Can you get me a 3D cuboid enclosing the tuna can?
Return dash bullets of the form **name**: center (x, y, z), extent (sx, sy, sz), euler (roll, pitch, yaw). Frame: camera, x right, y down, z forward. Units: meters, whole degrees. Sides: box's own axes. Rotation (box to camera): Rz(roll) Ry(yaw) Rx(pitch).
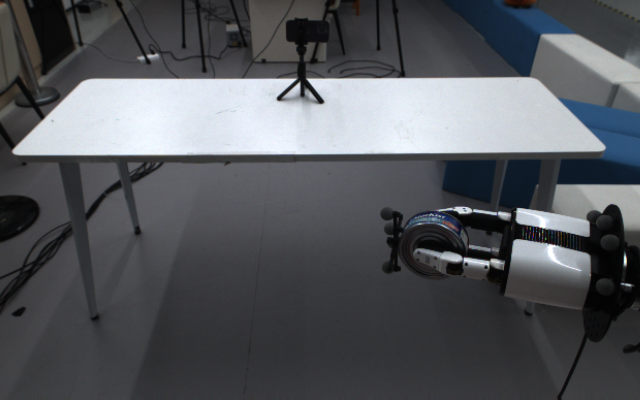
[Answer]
- **tuna can**: center (0.146, 0.054, 0.616), extent (0.085, 0.085, 0.034), euler (12, 27, 15)
